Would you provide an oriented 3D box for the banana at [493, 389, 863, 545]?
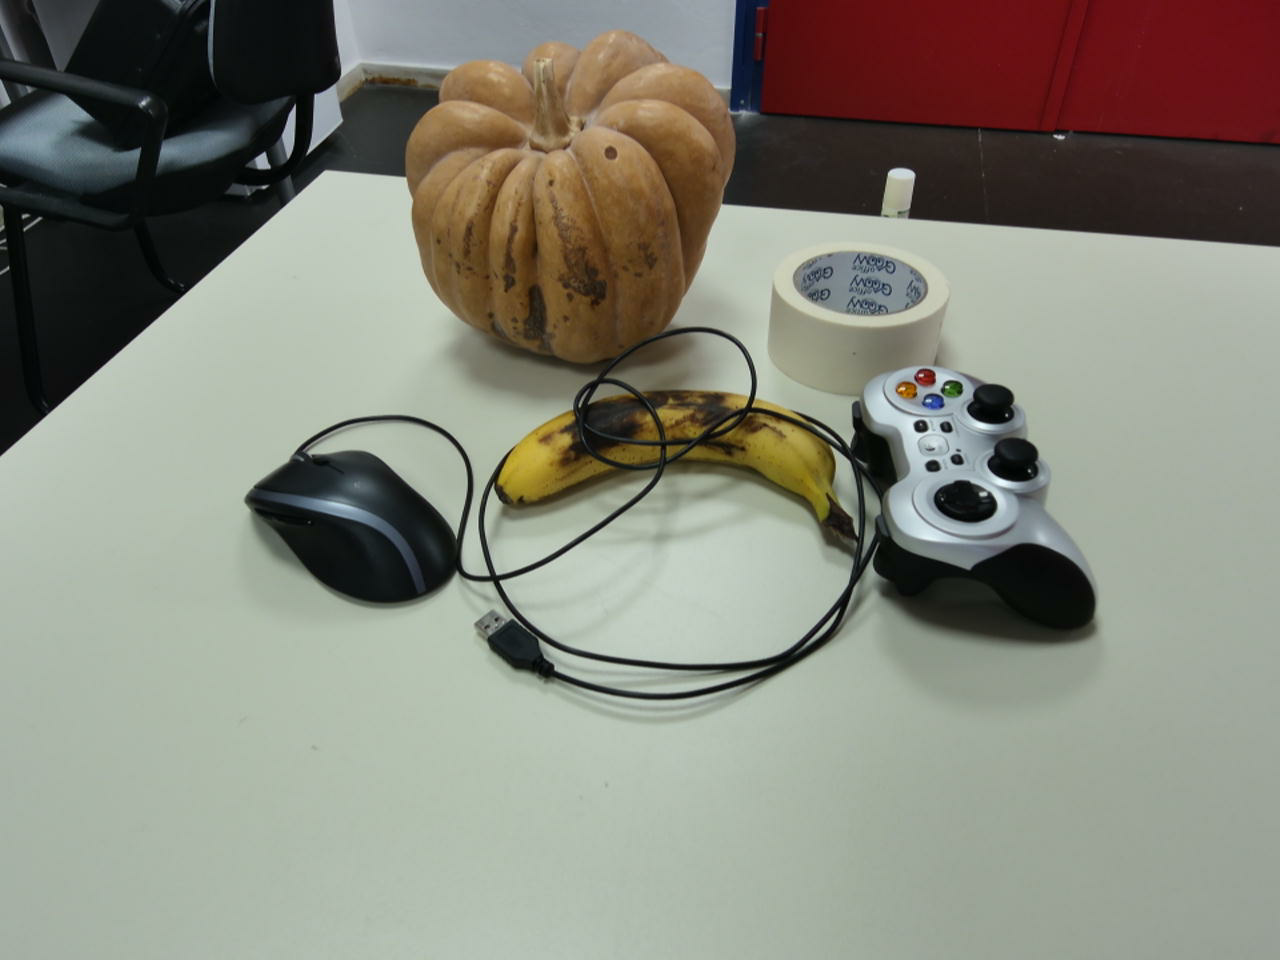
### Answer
[{"bbox_3d":[0.022,-0.014,0.531,0.187,0.039,0.094,7,39,9],"label":"banana"}]
